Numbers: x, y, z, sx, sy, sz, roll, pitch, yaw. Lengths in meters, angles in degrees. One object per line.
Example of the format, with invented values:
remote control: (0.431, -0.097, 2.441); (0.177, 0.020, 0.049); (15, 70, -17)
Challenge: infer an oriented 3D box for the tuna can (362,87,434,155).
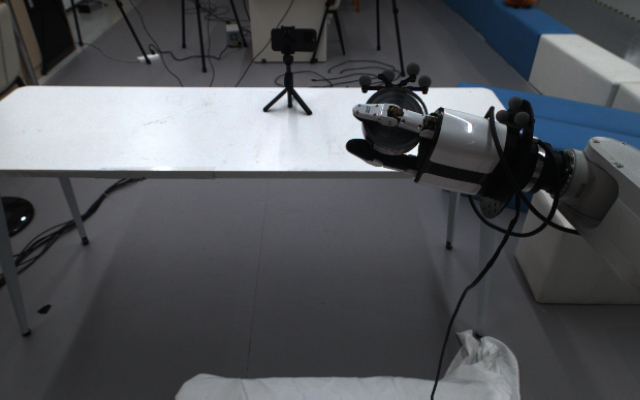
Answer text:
tuna can: (0.098, -0.105, 0.641); (0.085, 0.034, 0.085); (-1, 75, 4)
